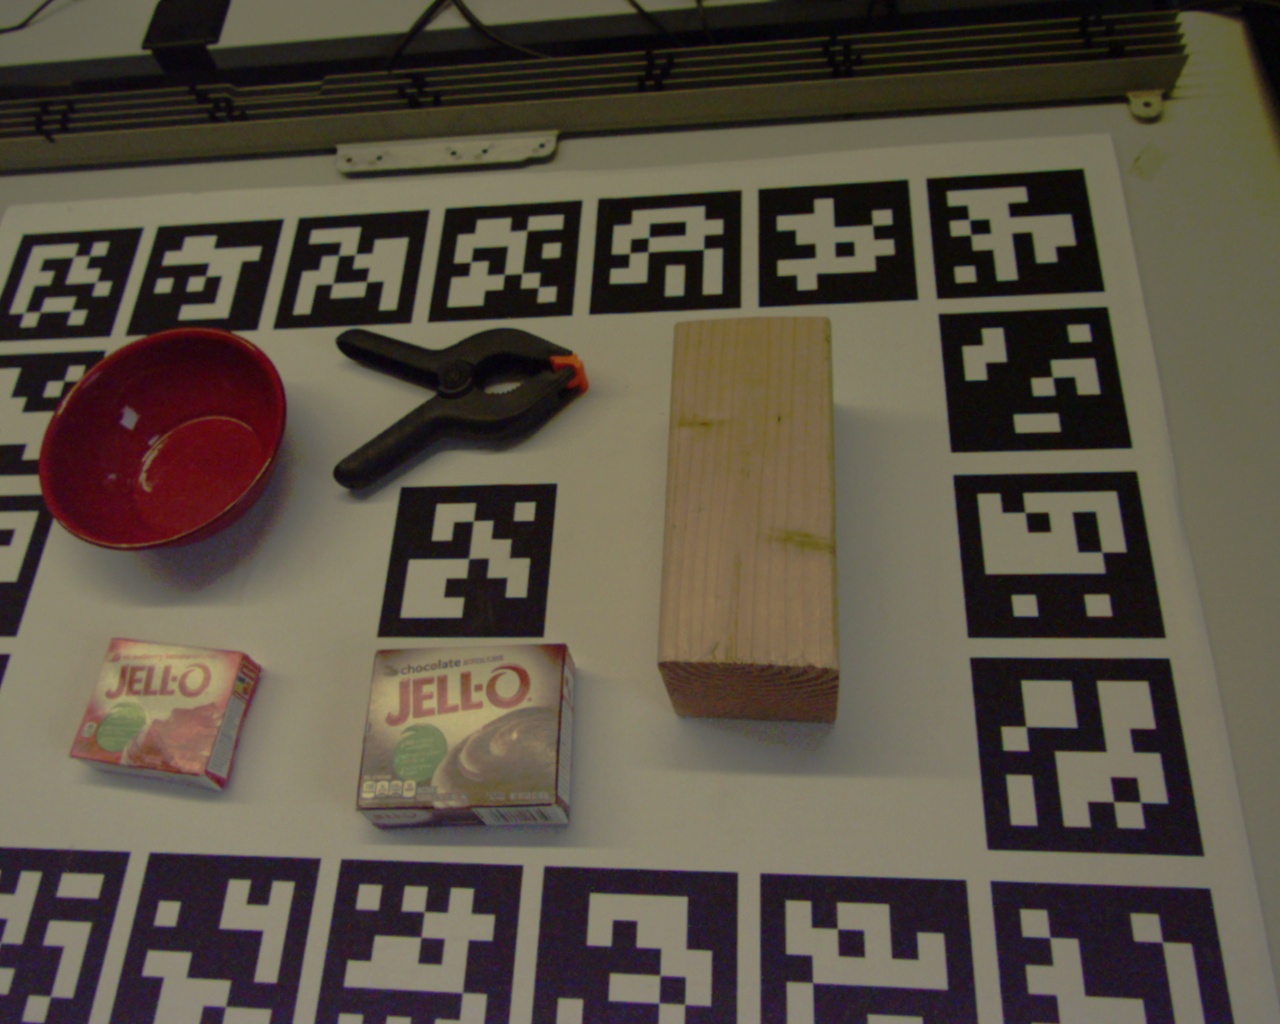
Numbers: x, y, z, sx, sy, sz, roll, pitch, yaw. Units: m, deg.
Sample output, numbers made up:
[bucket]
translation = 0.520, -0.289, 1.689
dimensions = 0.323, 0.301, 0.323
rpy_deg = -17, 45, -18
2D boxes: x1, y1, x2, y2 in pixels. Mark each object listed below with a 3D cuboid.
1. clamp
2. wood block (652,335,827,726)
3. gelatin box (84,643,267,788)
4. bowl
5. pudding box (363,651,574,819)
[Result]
[clamp]
translation = -0.135, -0.070, 0.768
dimensions = 0.165, 0.036, 0.122
rpy_deg = -10, 62, 2
[wood block]
translation = 0.063, 0.009, 0.656
dimensions = 0.090, 0.090, 0.206
rpy_deg = 1, 64, 8
[gelatin box]
translation = -0.280, 0.122, 0.689
dimensions = 0.090, 0.030, 0.073
rpy_deg = 6, 66, 12
[bowl]
translation = -0.299, -0.033, 0.765
dimensions = 0.162, 0.055, 0.162
rpy_deg = -3, 66, 7
[pudding box]
translation = -0.096, 0.128, 0.653
dimensions = 0.114, 0.038, 0.090
rpy_deg = -3, 67, 10
